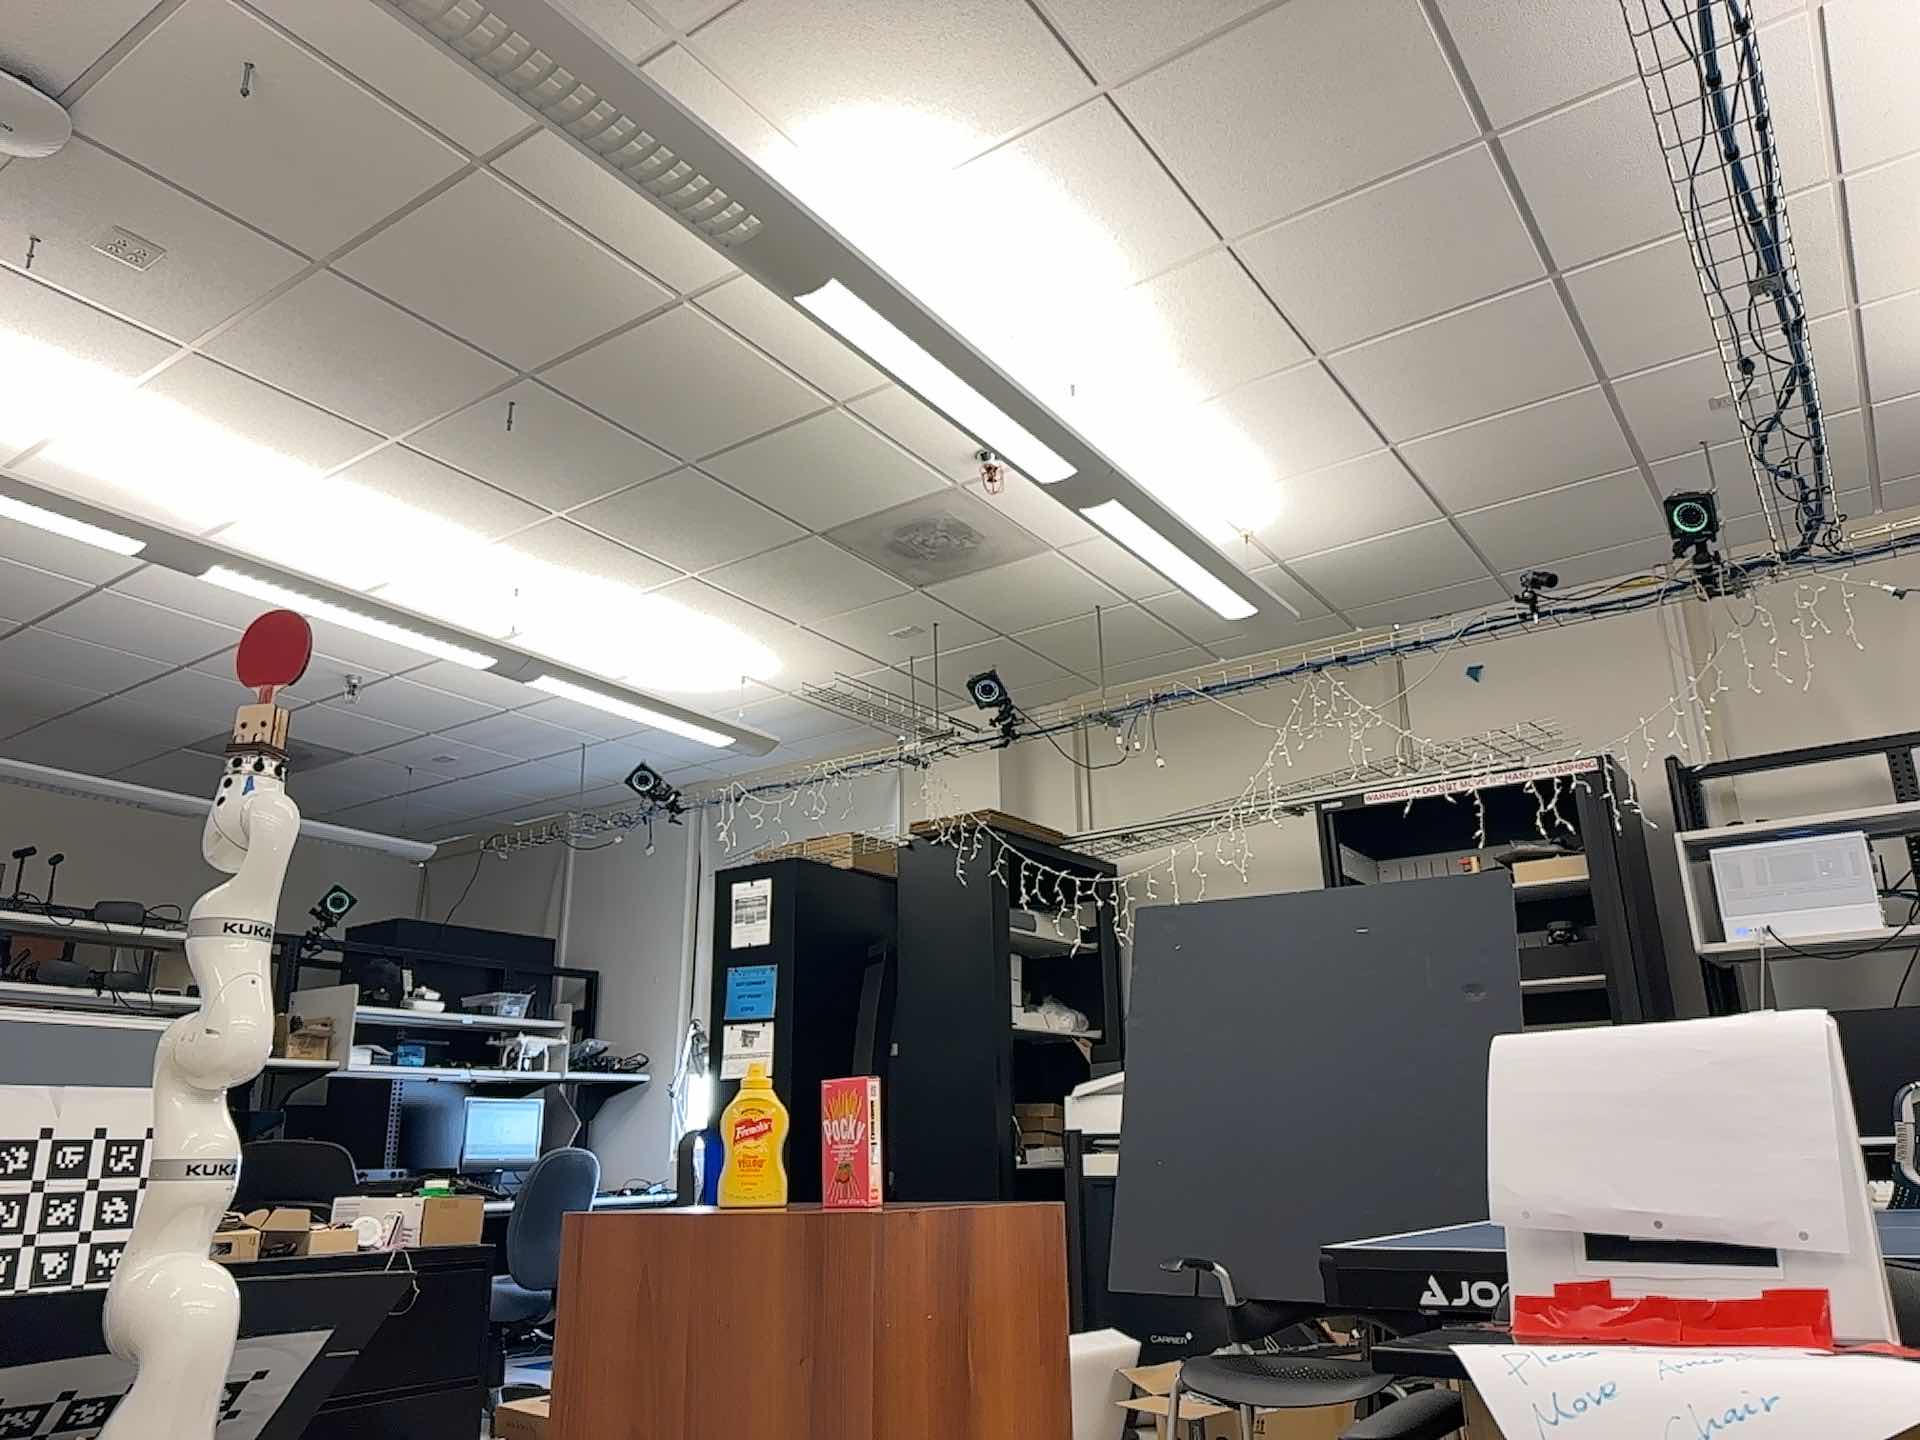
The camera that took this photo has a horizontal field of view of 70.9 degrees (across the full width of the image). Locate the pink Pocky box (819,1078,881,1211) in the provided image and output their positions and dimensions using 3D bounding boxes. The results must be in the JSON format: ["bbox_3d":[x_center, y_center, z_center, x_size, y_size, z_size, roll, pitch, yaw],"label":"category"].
[{"bbox_3d":[-0.138,0.529,1.682,0.084,0.154,0.029,-16,-24,39],"label":"pink Pocky box"}]

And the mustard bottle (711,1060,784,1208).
[{"bbox_3d":[-0.276,0.538,1.757,0.092,0.184,0.054,-3,-18,7],"label":"mustard bottle"}]
